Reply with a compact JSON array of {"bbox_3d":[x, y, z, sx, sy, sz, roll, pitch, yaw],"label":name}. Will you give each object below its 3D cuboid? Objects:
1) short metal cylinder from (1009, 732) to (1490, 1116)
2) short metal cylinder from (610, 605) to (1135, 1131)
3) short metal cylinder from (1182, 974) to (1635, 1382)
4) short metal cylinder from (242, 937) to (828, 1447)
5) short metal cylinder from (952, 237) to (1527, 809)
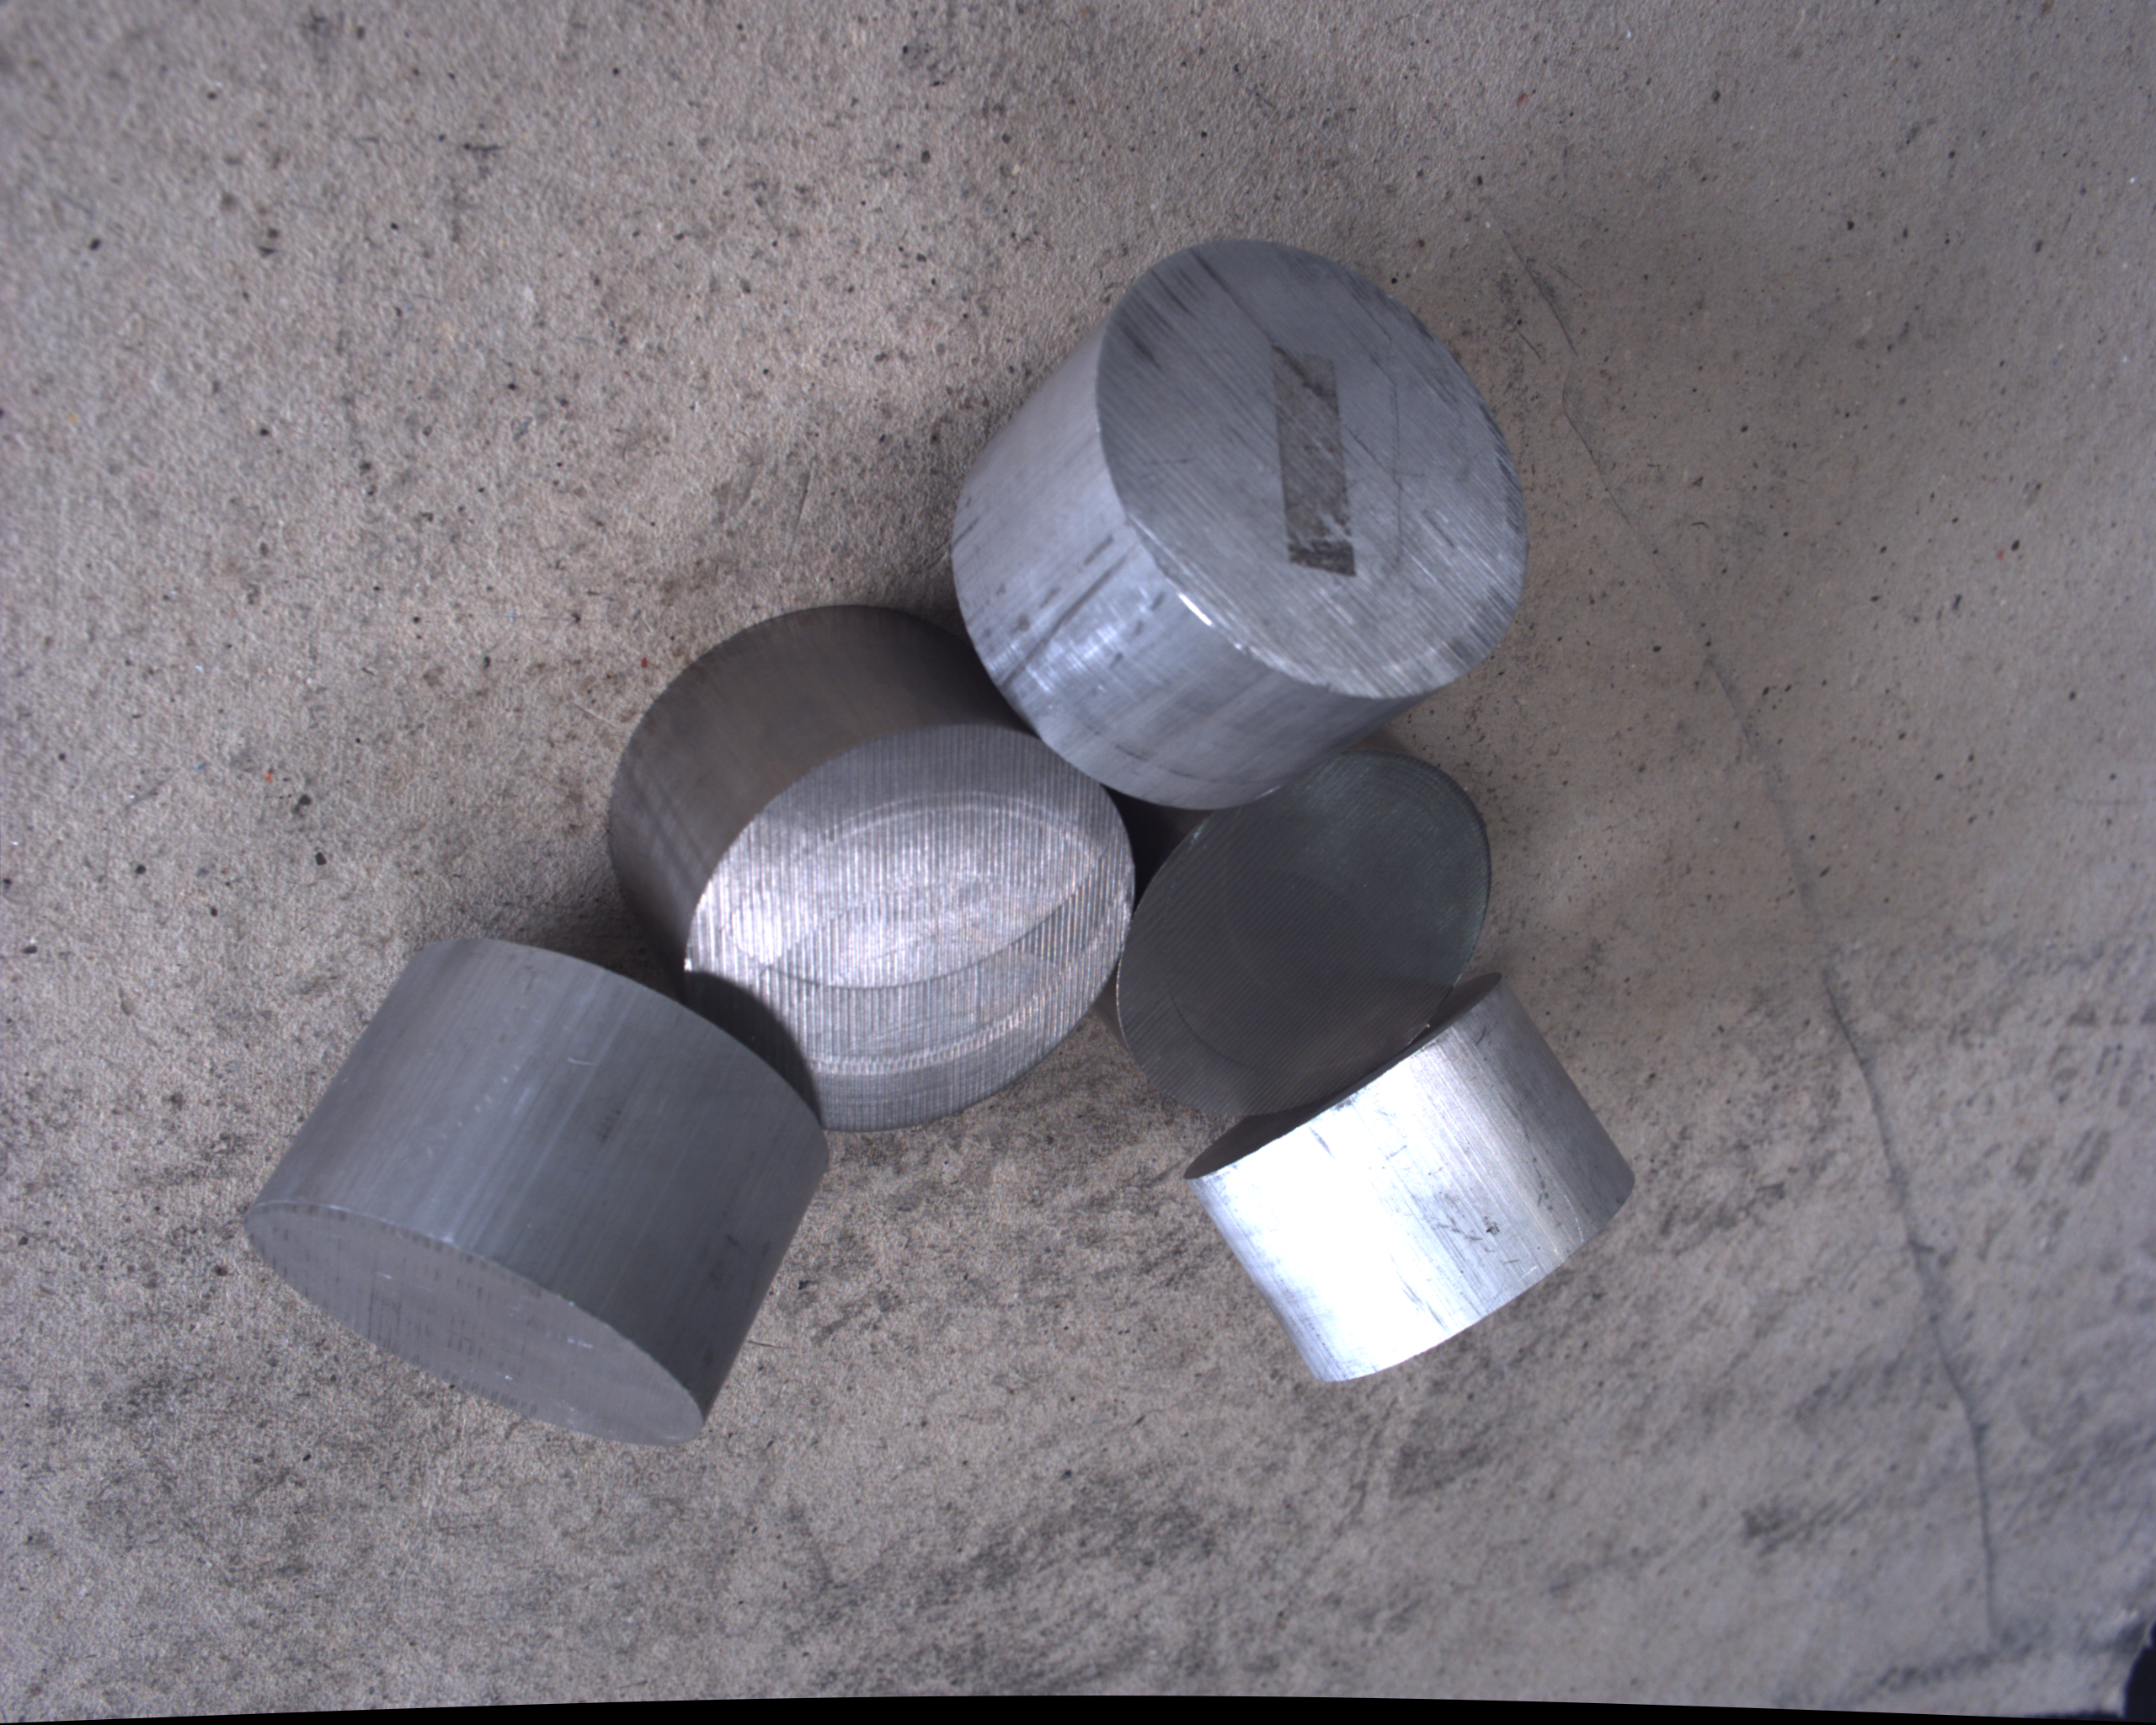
[{"bbox_3d":[0.033,0.003,0.412,0.081,0.050,0.079,-14,124,-21],"label":"short metal cylinder"},{"bbox_3d":[-0.037,0.001,0.372,0.081,0.050,0.079,-14,124,-21],"label":"short metal cylinder"},{"bbox_3d":[0.069,0.066,0.443,0.080,0.080,0.050,-32,87,-7],"label":"short metal cylinder"},{"bbox_3d":[-0.089,0.056,0.351,0.080,0.080,0.050,55,46,-39],"label":"short metal cylinder"},{"bbox_3d":[0.026,-0.055,0.345,0.081,0.080,0.050,1,160,-29],"label":"short metal cylinder"}]
